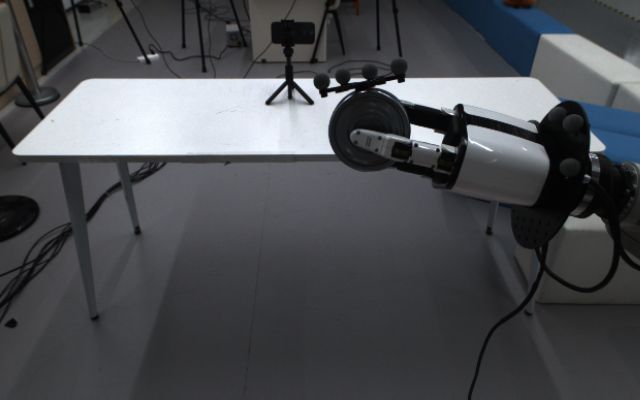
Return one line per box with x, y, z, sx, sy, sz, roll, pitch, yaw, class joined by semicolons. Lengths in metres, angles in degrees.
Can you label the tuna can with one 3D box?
0.054;-0.076;0.511;0.085;0.085;0.034;6;18;5;tuna can
